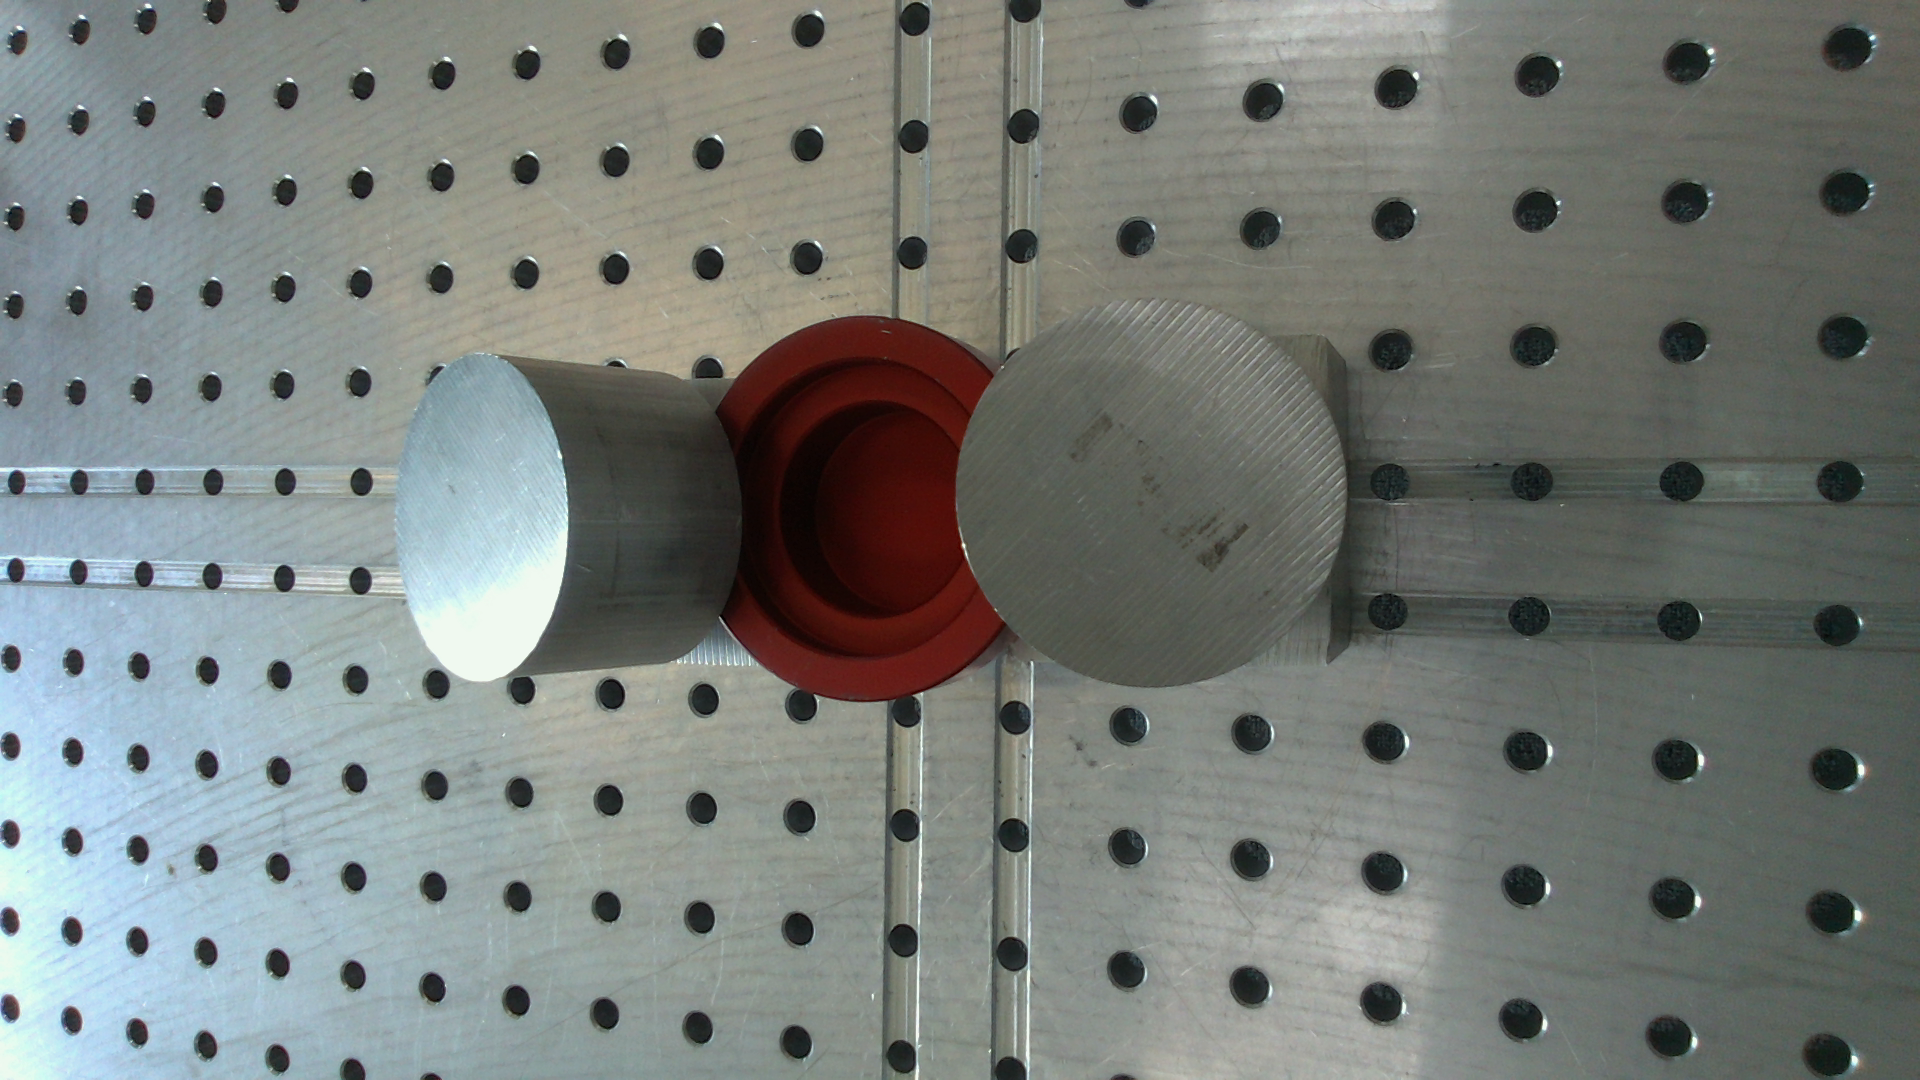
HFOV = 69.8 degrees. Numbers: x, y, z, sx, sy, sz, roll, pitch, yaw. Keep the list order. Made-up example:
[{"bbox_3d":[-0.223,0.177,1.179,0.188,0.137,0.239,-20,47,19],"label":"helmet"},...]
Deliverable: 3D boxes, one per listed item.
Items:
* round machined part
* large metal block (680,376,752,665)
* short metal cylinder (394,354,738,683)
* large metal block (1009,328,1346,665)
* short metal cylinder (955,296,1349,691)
[{"bbox_3d":[-0.019,-0.008,0.365,0.098,0.042,0.098,0,90,20],"label":"round machined part"},{"bbox_3d":[-0.081,-0.006,0.414,0.080,0.050,0.080,1,90,20],"label":"large metal block"},{"bbox_3d":[-0.103,-0.006,0.355,0.080,0.050,0.080,1,92,41],"label":"short metal cylinder"},{"bbox_3d":[0.059,-0.010,0.364,0.080,0.050,0.080,-1,90,20],"label":"large metal block"},{"bbox_3d":[0.039,-0.009,0.304,0.080,0.050,0.080,0,90,0],"label":"short metal cylinder"}]
